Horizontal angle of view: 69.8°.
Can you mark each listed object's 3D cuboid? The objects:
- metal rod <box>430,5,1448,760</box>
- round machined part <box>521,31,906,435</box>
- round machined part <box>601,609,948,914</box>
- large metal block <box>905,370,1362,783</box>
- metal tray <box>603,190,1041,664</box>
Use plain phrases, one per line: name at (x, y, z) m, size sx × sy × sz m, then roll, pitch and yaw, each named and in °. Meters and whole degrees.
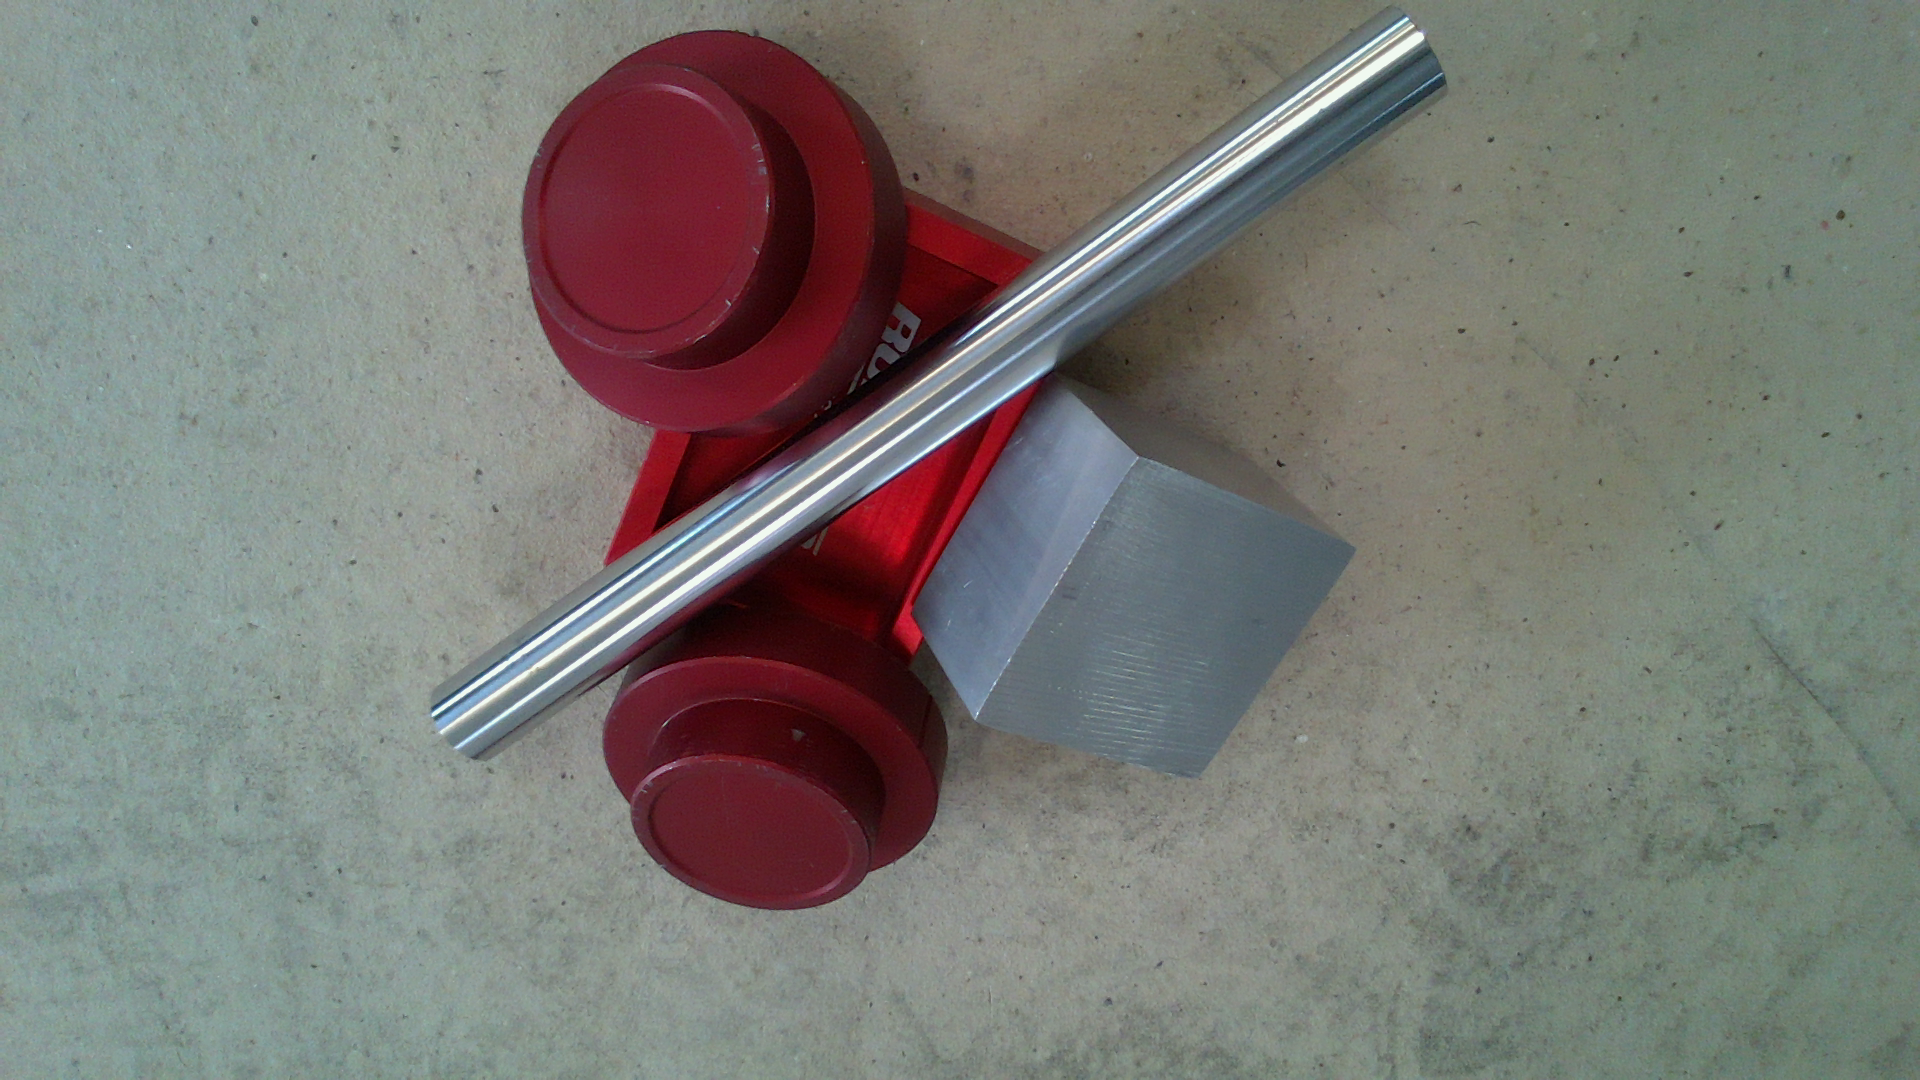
metal rod at (-0.015, -0.032, 0.351) m, size 0.300 × 0.025 × 0.025 m, roll -34°, pitch 107°, yaw 11°
round machined part at (-0.066, -0.075, 0.335) m, size 0.098 × 0.042 × 0.098 m, roll 0°, pitch 89°, yaw 20°
round machined part at (-0.054, 0.069, 0.392) m, size 0.098 × 0.042 × 0.098 m, roll 4°, pitch 131°, yaw 5°
large metal block at (0.045, 0.012, 0.370) m, size 0.080 × 0.050 × 0.080 m, roll 19°, pitch 110°, yaw -33°
metal tray at (-0.033, -0.032, 0.379) m, size 0.090 × 0.030 × 0.130 m, roll 23°, pitch 108°, yaw -8°
